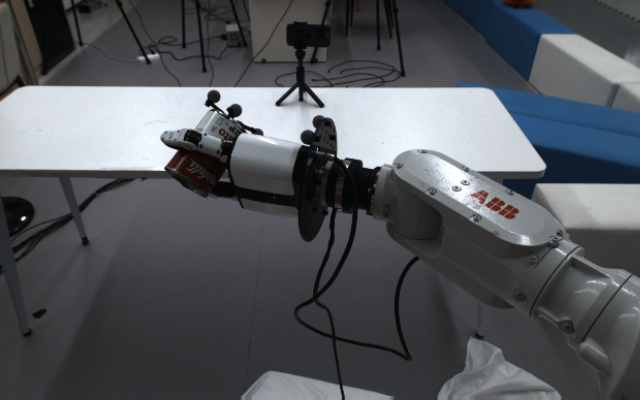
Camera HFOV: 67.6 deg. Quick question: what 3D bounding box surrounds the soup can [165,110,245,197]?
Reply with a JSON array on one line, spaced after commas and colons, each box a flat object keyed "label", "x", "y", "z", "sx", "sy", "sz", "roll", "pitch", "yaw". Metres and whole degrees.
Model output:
[{"label": "soup can", "x": -0.151, "y": -0.062, "z": 0.651, "sx": 0.067, "sy": 0.067, "sz": 0.101, "roll": 24, "pitch": 73, "yaw": 29}]
